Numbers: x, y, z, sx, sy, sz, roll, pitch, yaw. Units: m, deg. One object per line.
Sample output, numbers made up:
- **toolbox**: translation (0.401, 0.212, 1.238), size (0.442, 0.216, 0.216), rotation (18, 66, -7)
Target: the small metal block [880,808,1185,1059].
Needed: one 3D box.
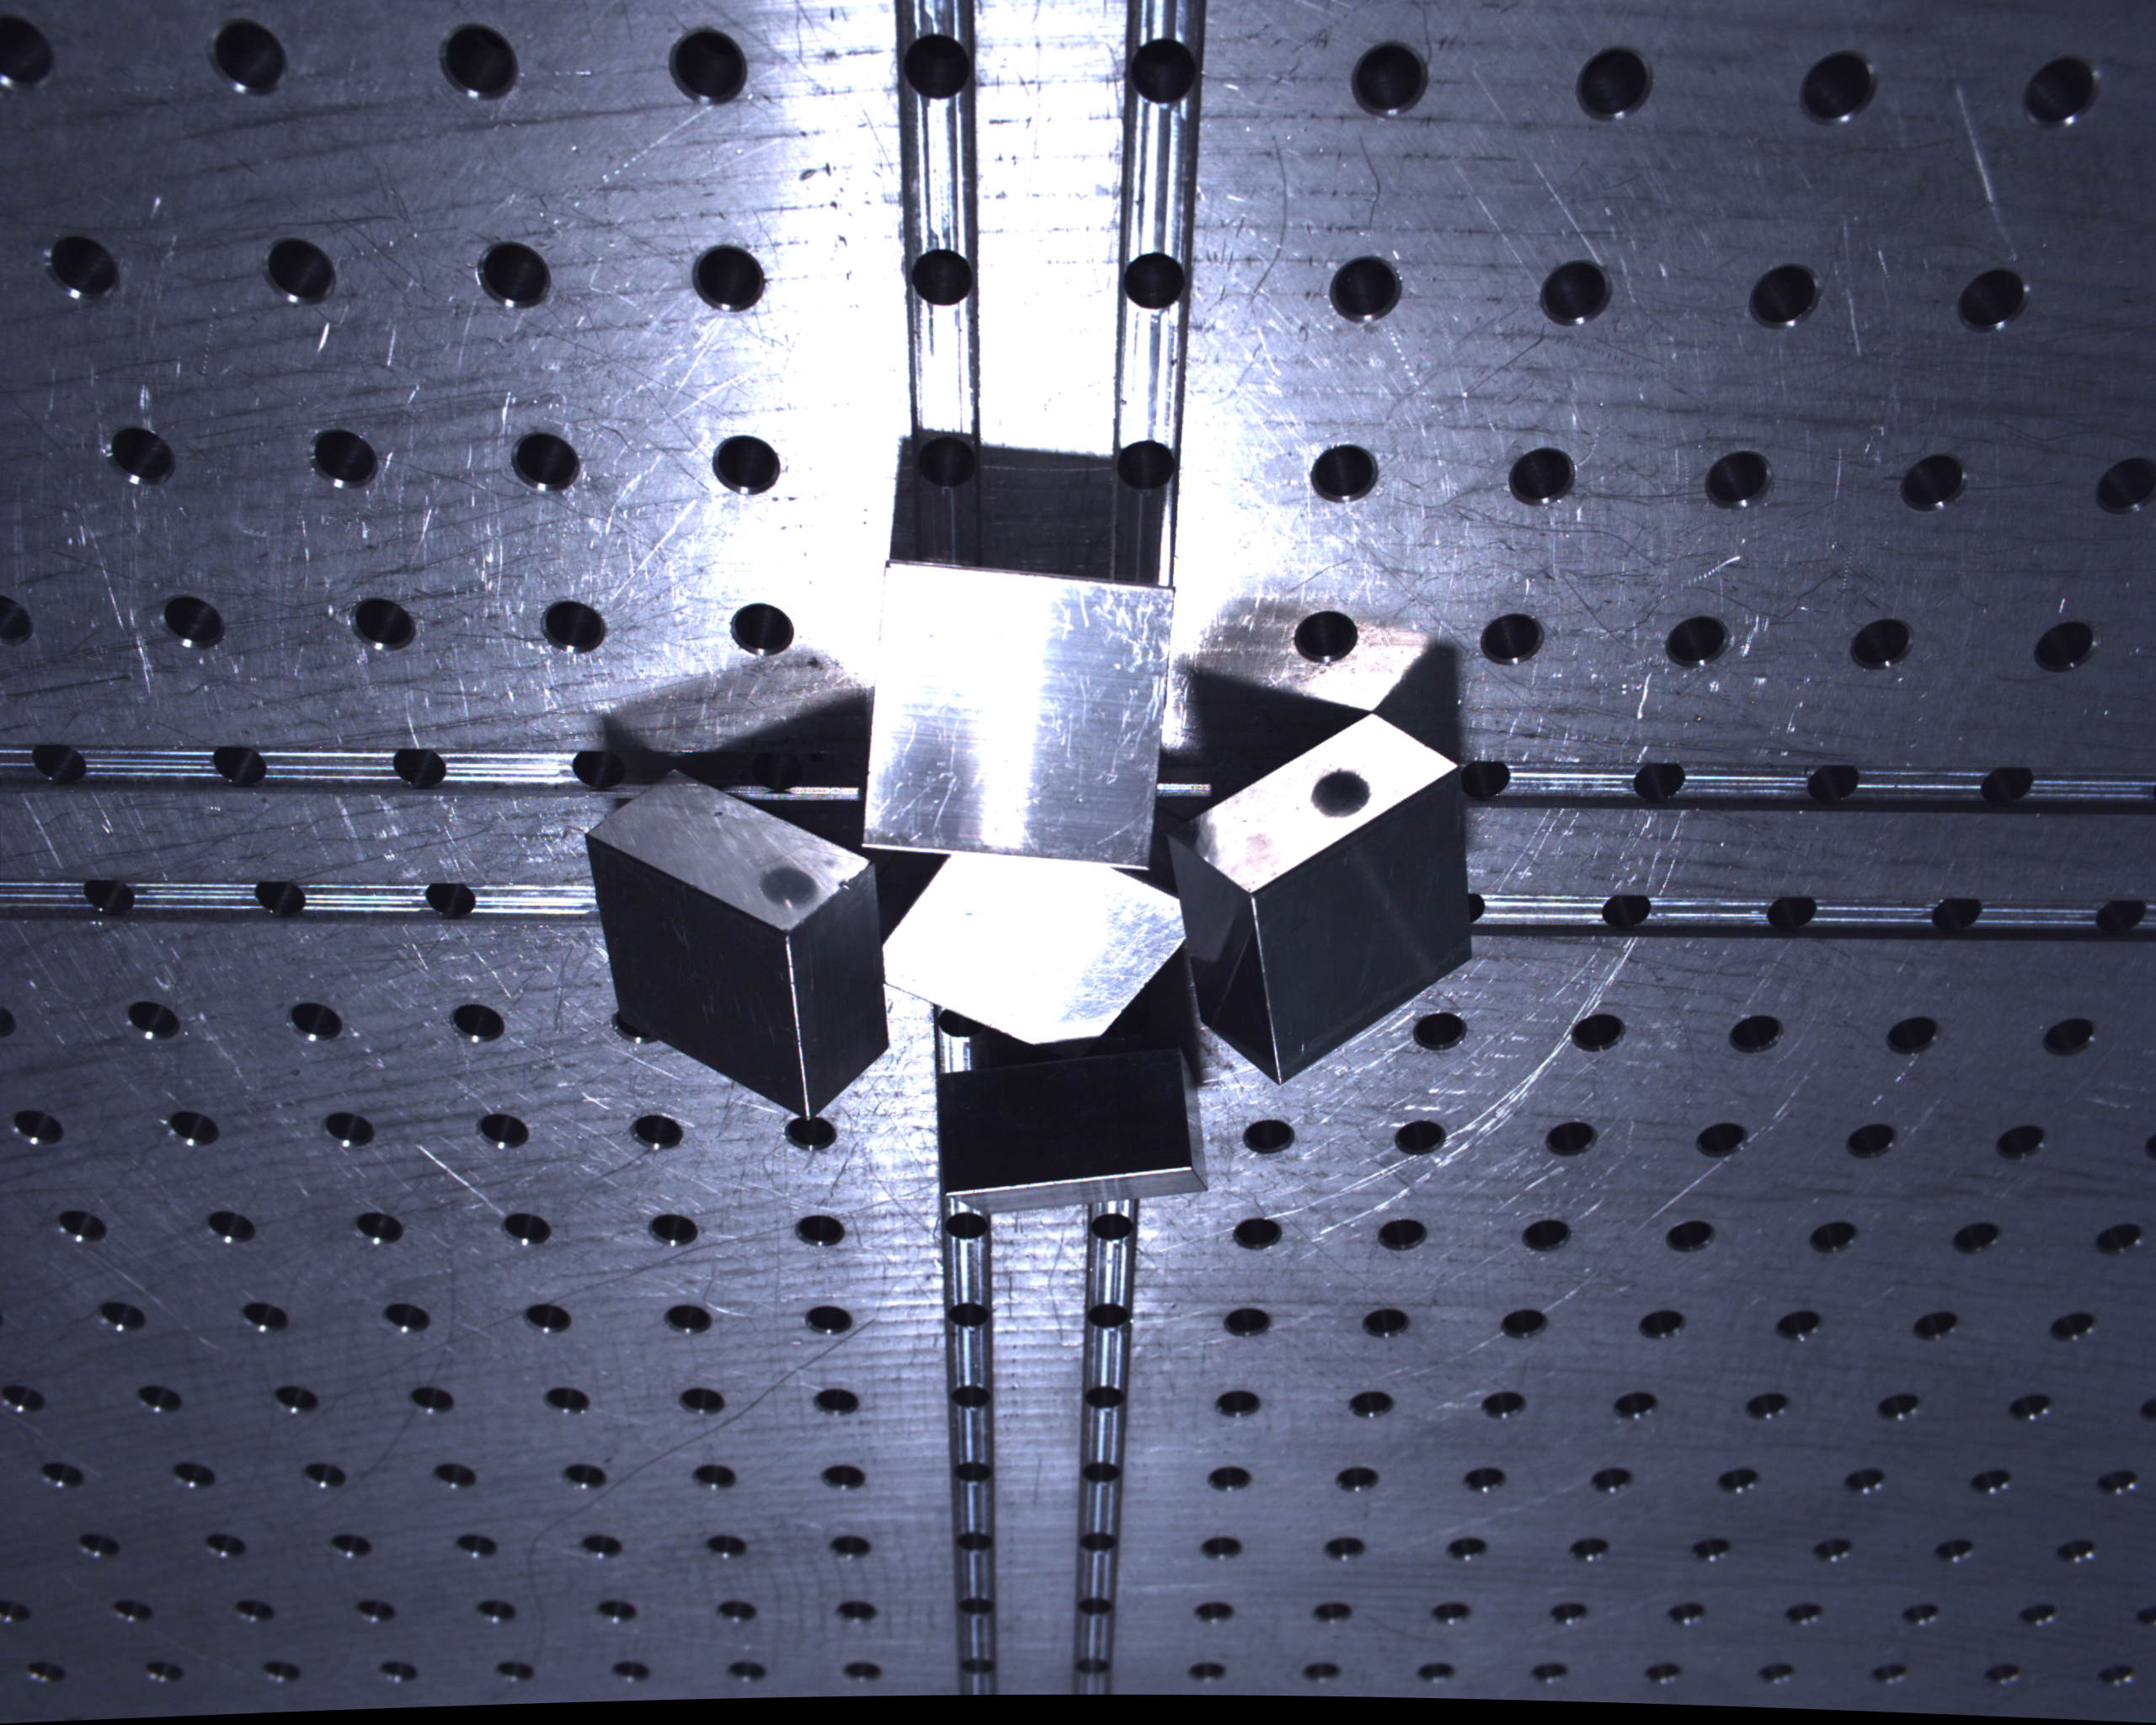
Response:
- **small metal block**: translation (-0.009, 0.008, 0.417), size (0.050, 0.025, 0.050), rotation (25, 126, -20)

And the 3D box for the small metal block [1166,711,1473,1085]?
- **small metal block**: translation (0.048, 0.007, 0.402), size (0.050, 0.025, 0.050), rotation (-30, 133, -21)

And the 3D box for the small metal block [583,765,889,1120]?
- **small metal block**: translation (-0.066, 0.016, 0.409), size (0.050, 0.025, 0.050), rotation (24, 136, 25)

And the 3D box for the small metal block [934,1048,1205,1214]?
- **small metal block**: translation (0.000, 0.058, 0.445), size (0.050, 0.025, 0.050), rotation (-7, 166, 5)

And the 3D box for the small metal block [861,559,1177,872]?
- **small metal block**: translation (-0.011, -0.026, 0.373), size (0.050, 0.025, 0.050), rotation (5, 94, -4)
